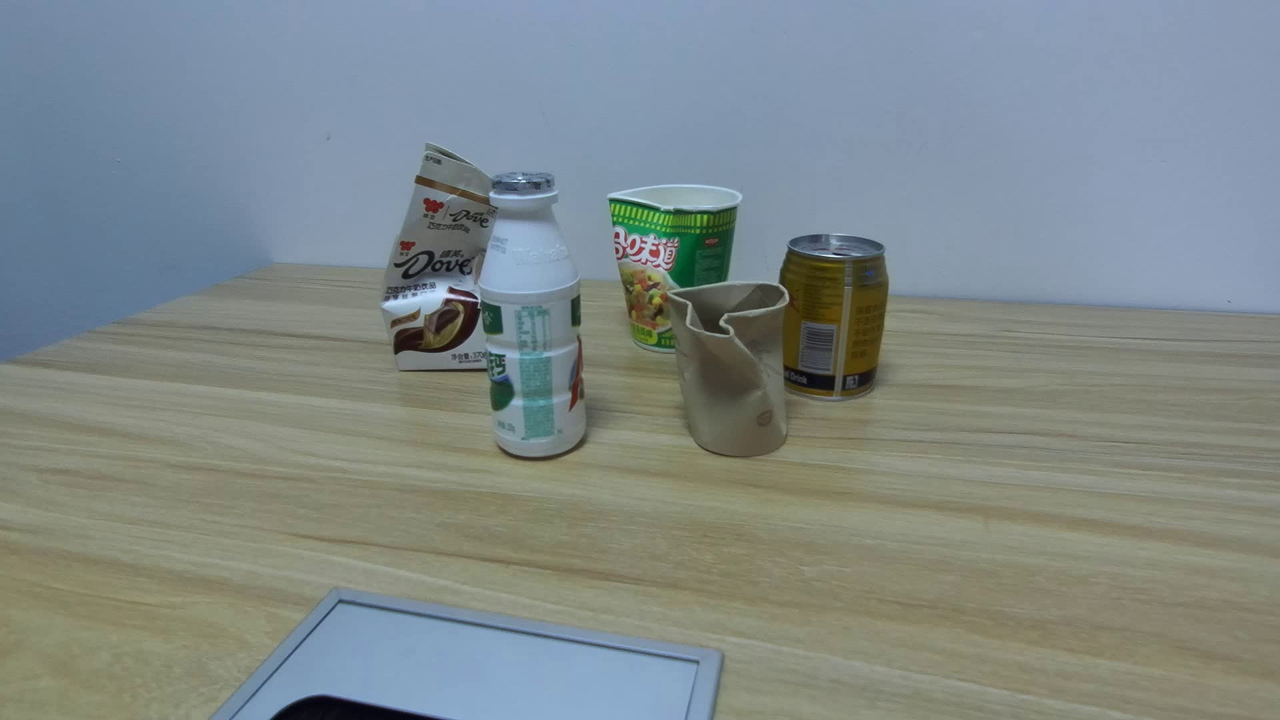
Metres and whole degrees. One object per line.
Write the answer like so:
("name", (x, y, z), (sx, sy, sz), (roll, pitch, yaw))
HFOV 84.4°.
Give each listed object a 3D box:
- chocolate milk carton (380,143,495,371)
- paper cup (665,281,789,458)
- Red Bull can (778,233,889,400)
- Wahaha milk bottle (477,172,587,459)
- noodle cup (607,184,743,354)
("chocolate milk carton", (-0.117, -0.066, 0.486), (0.089, 0.155, 0.077), (16, 31, 2))
("paper cup", (0.054, 0.007, 0.384), (0.066, 0.083, 0.058), (-9, 27, -12))
("Red Bull can", (0.121, -0.029, 0.454), (0.068, 0.093, 0.068), (0, 23, 0))
("Wahaha milk bottle", (-0.058, -0.022, 0.376), (0.053, 0.147, 0.053), (-1, 22, 1))
("noodle cup", (0.031, -0.067, 0.521), (0.087, 0.109, 0.093), (-12, 26, -25))
